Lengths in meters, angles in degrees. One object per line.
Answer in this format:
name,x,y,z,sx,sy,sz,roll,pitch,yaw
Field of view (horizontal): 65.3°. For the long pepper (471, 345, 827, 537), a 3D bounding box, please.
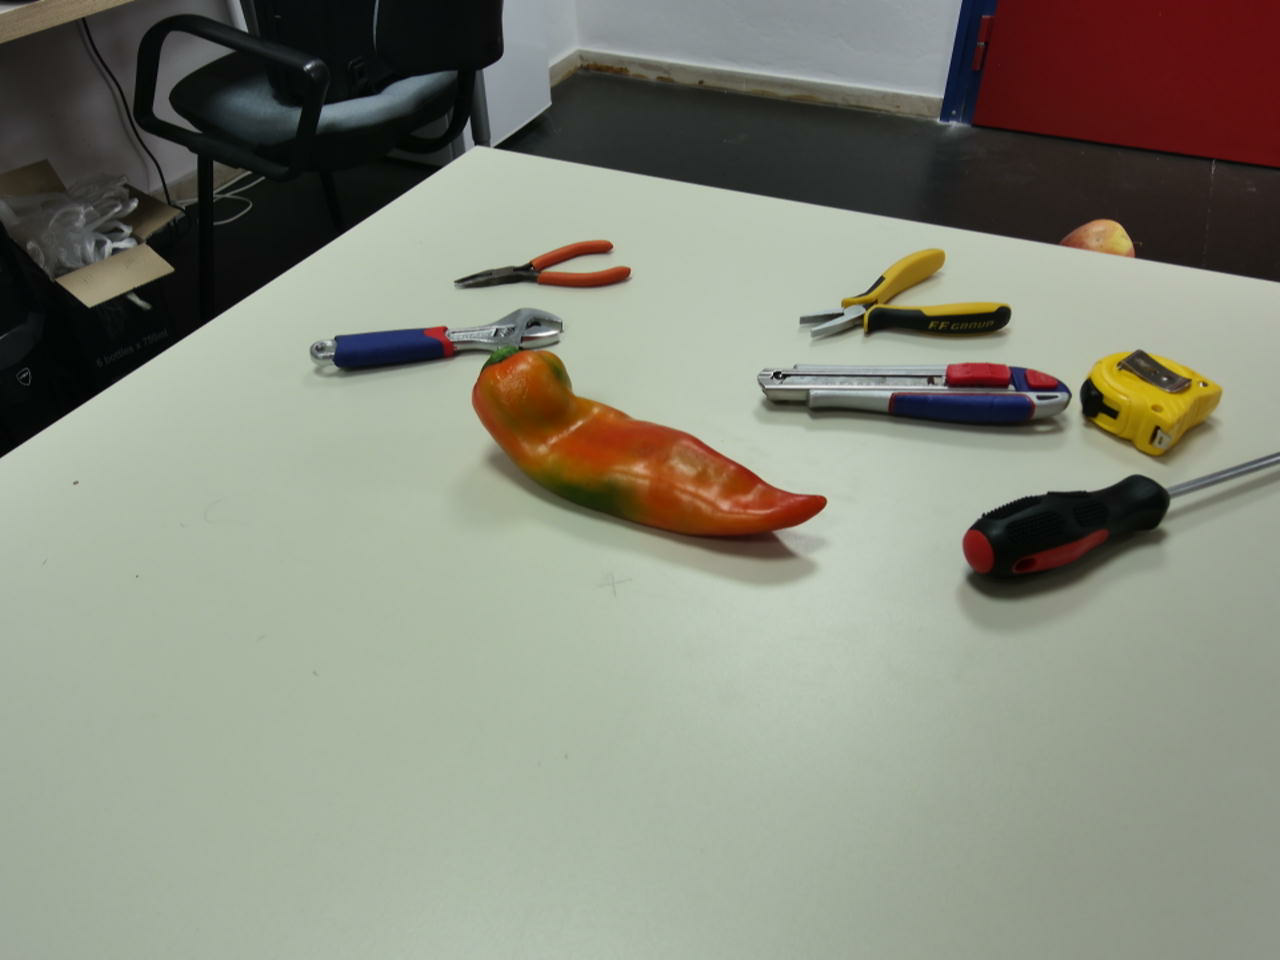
long pepper,0.000,-0.019,0.517,0.199,0.065,0.066,20,43,24
